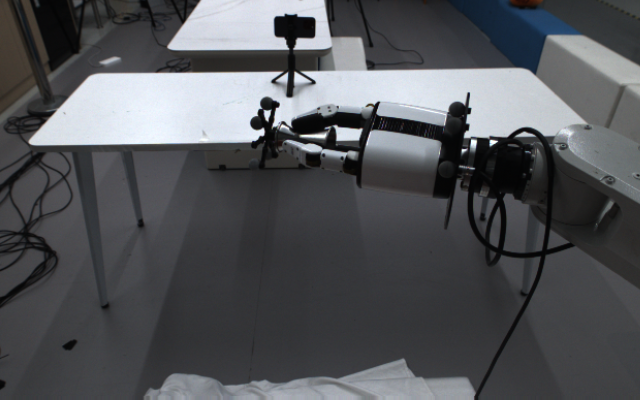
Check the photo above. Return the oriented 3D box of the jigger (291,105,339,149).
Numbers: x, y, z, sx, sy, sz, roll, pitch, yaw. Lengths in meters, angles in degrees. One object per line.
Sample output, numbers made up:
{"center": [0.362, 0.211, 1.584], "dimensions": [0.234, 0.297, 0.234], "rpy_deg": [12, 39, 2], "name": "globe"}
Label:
{"center": [-0.012, -0.077, 0.609], "dimensions": [0.071, 0.043, 0.043], "rpy_deg": [11, 36, 15], "name": "jigger"}
